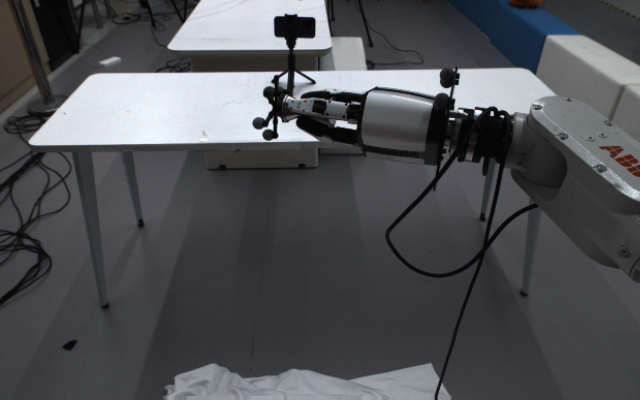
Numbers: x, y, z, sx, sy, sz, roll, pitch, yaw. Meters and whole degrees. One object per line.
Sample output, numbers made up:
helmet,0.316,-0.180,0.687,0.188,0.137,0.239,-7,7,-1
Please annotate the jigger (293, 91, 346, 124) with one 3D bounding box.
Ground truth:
jigger,-0.008,-0.128,0.669,0.071,0.043,0.043,8,35,16
